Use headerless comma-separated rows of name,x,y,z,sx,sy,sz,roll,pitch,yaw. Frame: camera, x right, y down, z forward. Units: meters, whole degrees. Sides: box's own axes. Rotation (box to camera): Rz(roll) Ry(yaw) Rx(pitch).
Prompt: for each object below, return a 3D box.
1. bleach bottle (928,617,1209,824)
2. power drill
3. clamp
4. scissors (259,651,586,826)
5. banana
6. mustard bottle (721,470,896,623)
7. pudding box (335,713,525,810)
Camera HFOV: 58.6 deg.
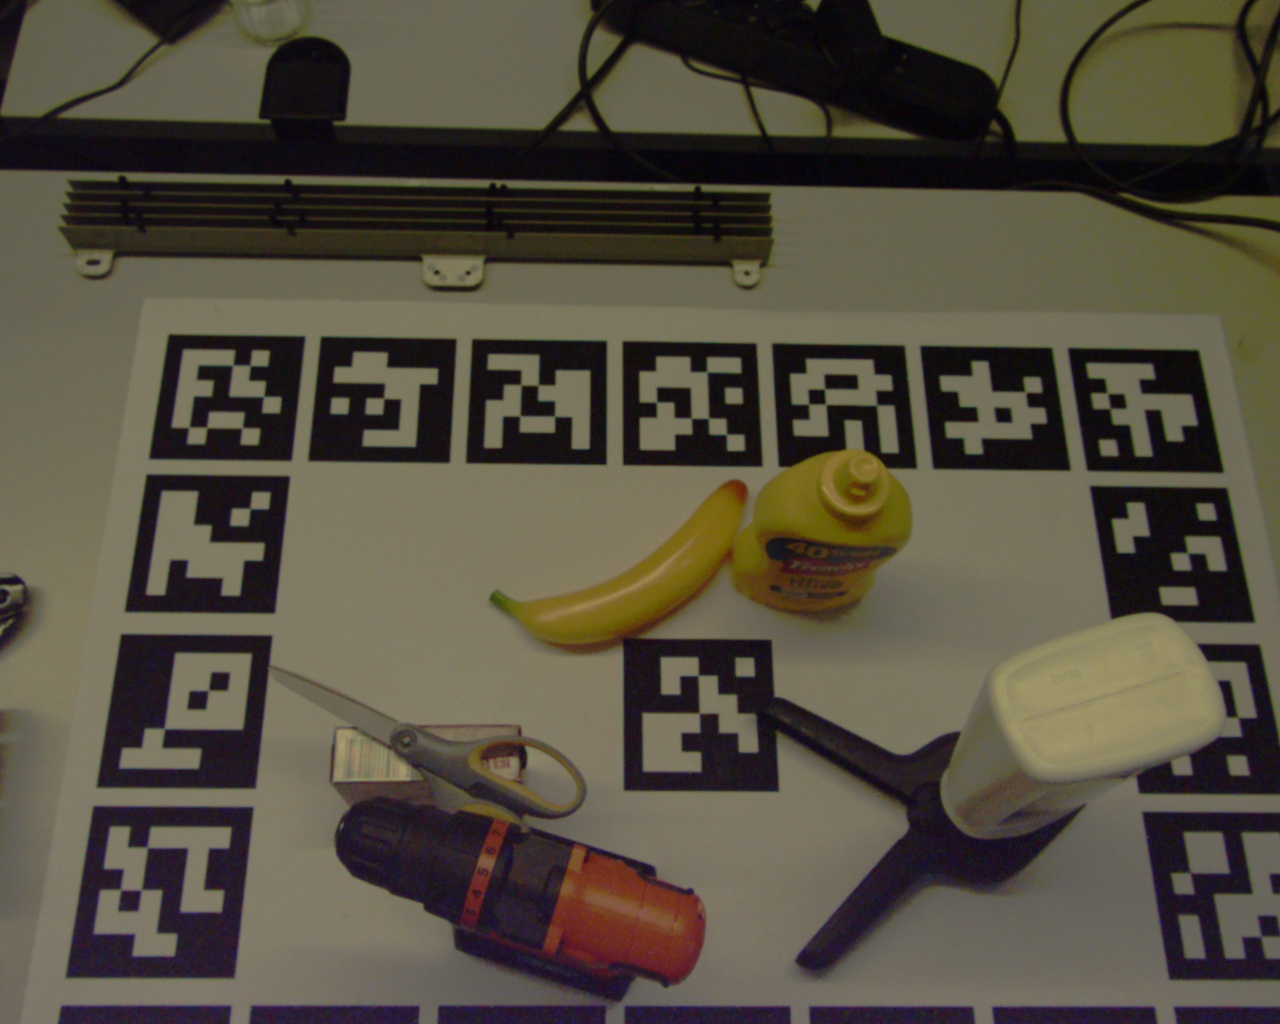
bleach bottle,0.225,0.135,0.652,0.102,0.249,0.068,-19,67,-2
power drill,-0.067,0.213,0.629,0.185,0.186,0.057,13,62,5
clamp,0.184,0.187,0.743,0.202,0.036,0.166,-5,71,-6
scissors,-0.135,0.132,0.671,0.203,0.016,0.087,26,74,3
banana,0.002,0.028,0.806,0.196,0.038,0.075,-38,58,-14
mustard bottle,0.113,0.020,0.743,0.096,0.191,0.058,14,69,1
pudding box,-0.130,0.161,0.729,0.114,0.090,0.039,5,62,-1
